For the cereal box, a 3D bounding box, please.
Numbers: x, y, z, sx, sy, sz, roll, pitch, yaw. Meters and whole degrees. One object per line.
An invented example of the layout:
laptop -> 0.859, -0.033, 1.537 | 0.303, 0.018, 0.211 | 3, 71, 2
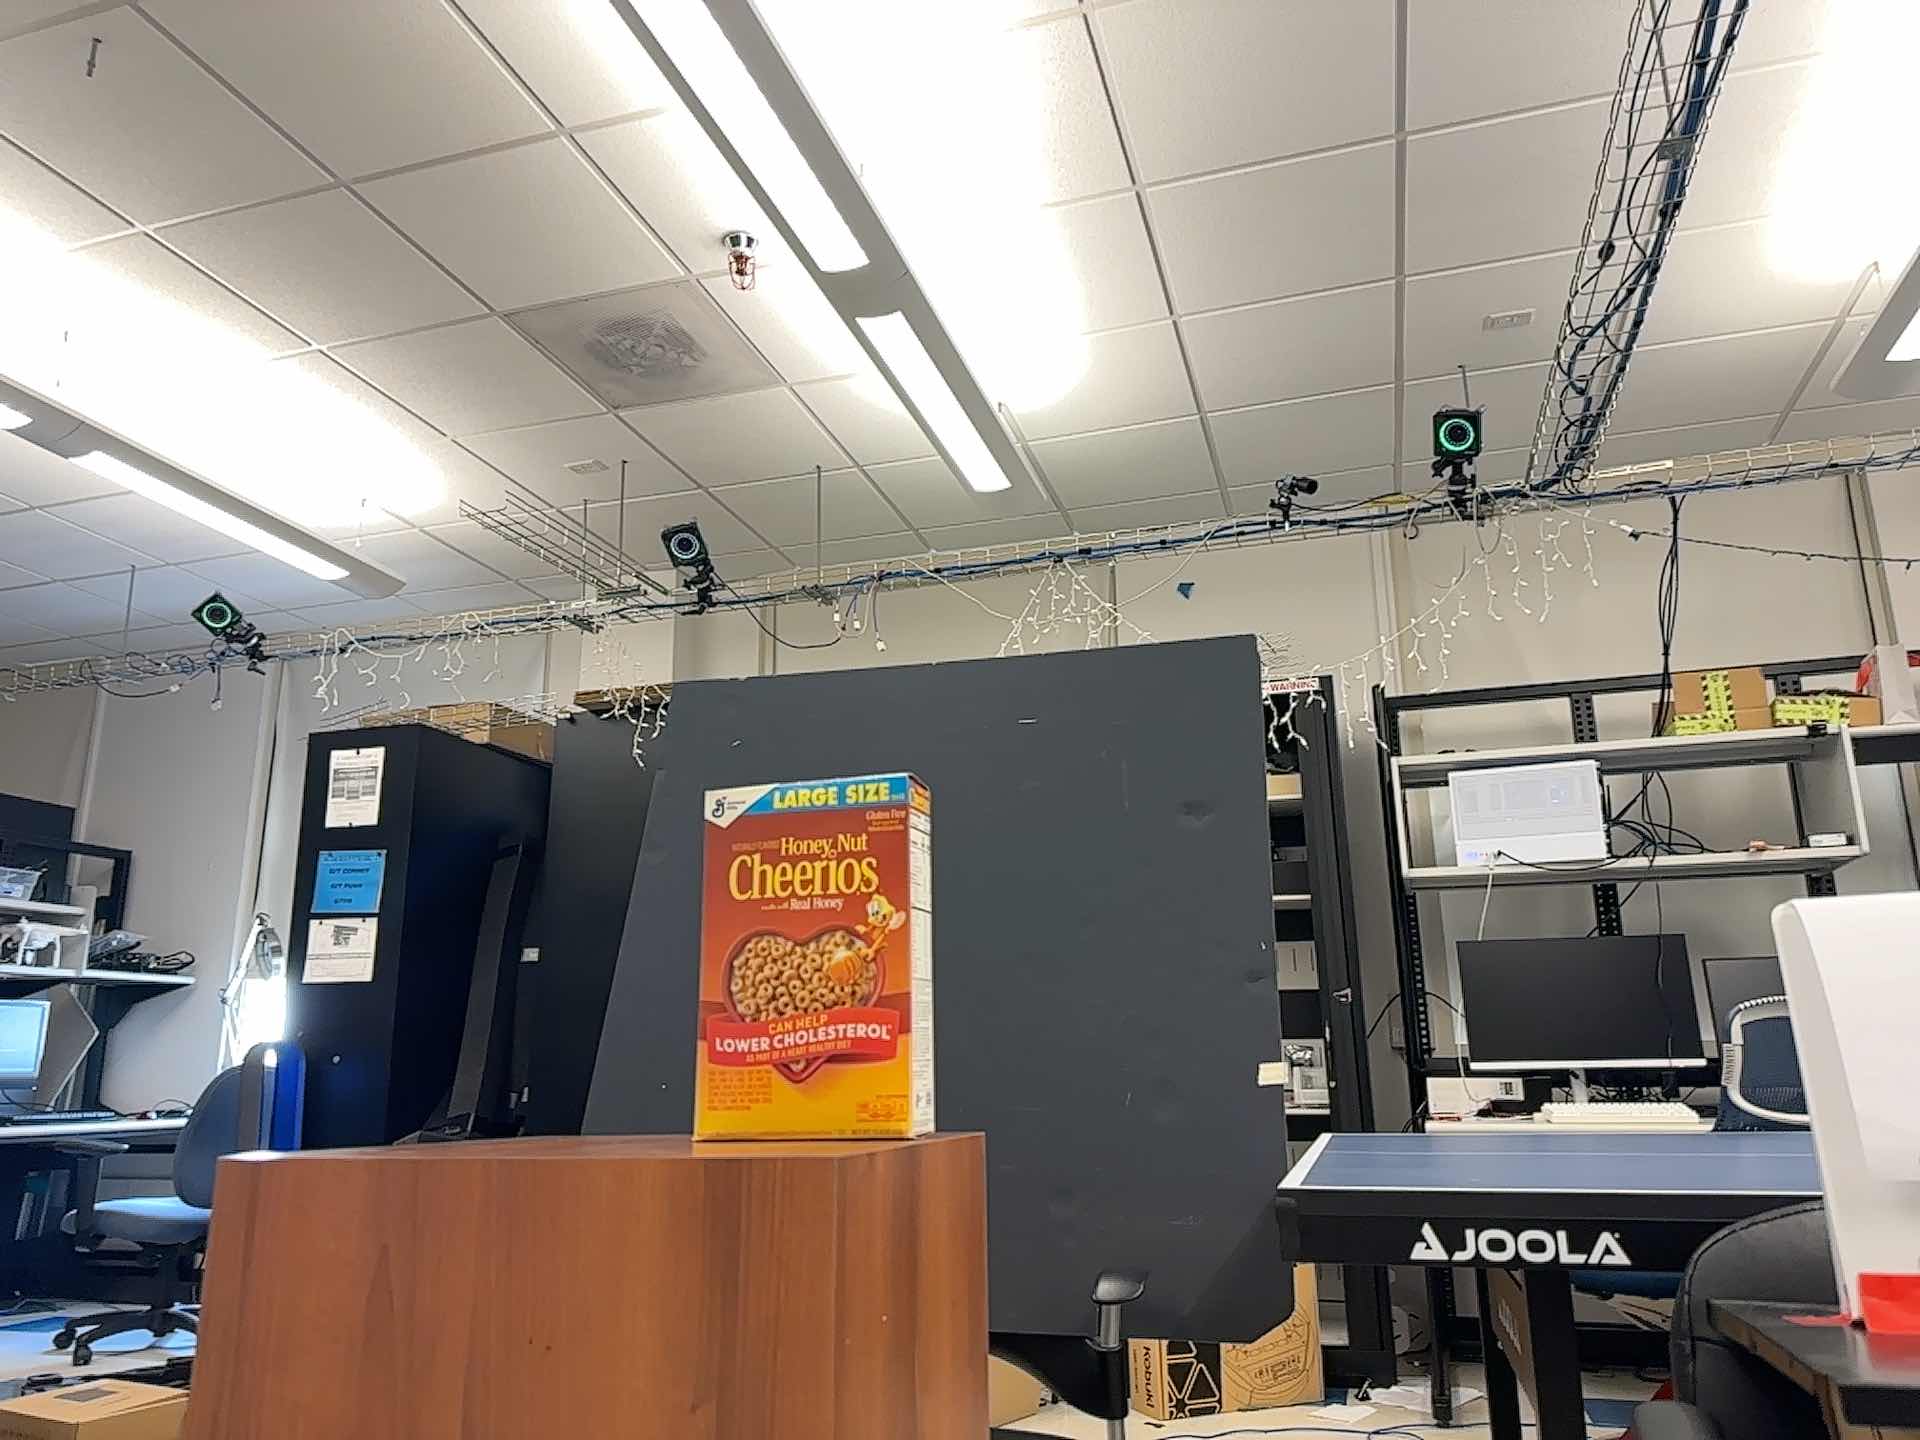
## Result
cereal box -> -0.129, 0.205, 1.165 | 0.195, 0.297, 0.065 | -7, -13, 23
